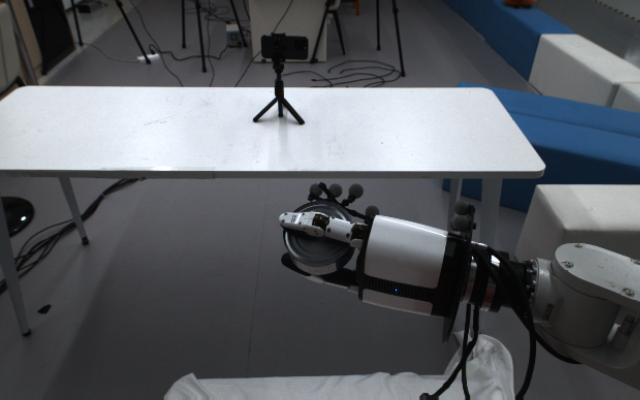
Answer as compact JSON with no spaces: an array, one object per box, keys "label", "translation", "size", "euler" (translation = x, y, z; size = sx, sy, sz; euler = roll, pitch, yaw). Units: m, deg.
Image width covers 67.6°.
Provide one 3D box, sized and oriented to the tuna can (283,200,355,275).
[{"label":"tuna can","translation":[0.003,0.044,0.581],"size":[0.085,0.034,0.085],"euler":[-4,56,6]}]
